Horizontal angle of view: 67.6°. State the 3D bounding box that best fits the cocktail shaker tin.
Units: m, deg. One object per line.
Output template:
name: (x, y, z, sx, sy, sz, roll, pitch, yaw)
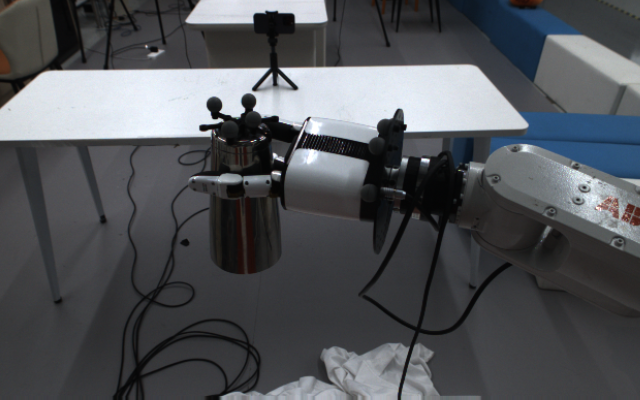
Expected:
cocktail shaker tin: (-0.089, -0.009, 0.582, 0.093, 0.170, 0.093, 2, 33, -2)
